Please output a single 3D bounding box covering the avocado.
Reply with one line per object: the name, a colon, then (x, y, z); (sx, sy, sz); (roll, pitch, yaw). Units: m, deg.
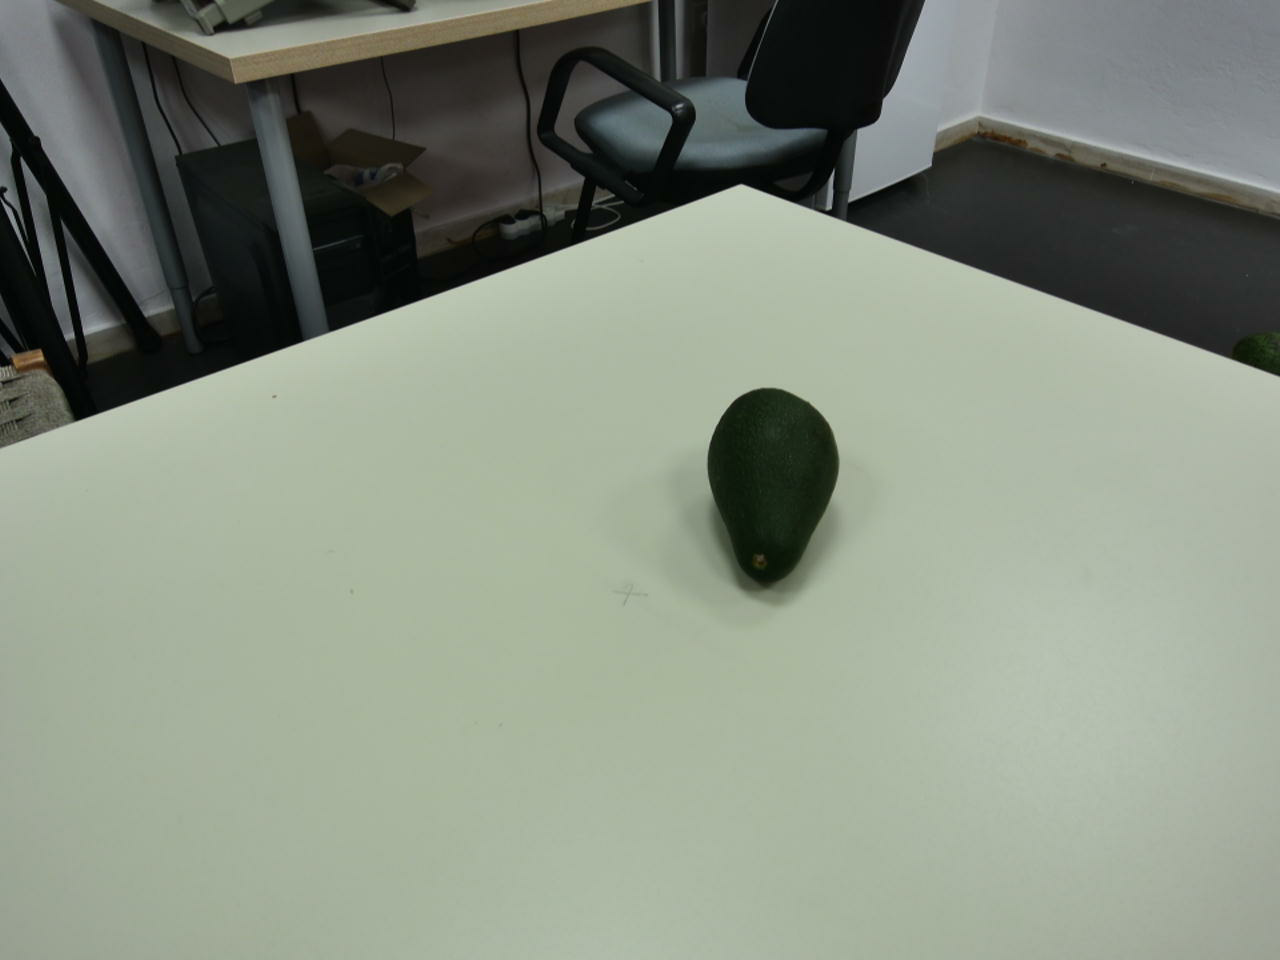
avocado: (0.066, -0.002, 0.529); (0.073, 0.071, 0.109); (17, 39, 22)
